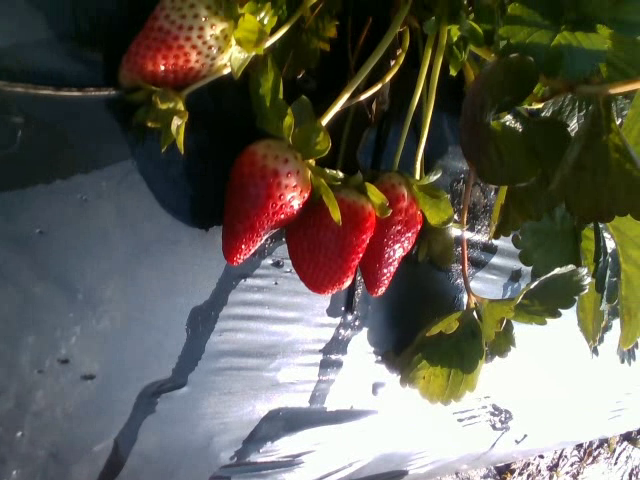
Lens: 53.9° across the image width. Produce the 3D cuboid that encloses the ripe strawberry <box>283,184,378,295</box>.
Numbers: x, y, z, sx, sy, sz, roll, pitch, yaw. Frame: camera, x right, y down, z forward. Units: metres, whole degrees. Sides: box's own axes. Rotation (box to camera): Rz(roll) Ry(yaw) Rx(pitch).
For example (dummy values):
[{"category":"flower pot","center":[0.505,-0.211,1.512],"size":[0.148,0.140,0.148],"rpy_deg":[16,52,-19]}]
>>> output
[{"category":"ripe strawberry","center":[0.005,0.000,0.211],"size":[0.036,0.039,0.030],"rpy_deg":[-18,-31,31]}]

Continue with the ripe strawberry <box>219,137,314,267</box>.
[{"category":"ripe strawberry","center":[-0.018,-0.010,0.196],"size":[0.031,0.046,0.023],"rpy_deg":[18,18,-43]}]

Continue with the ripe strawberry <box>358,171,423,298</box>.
[{"category":"ripe strawberry","center":[0.024,0.004,0.234],"size":[0.035,0.041,0.033],"rpy_deg":[13,-15,-41]}]
